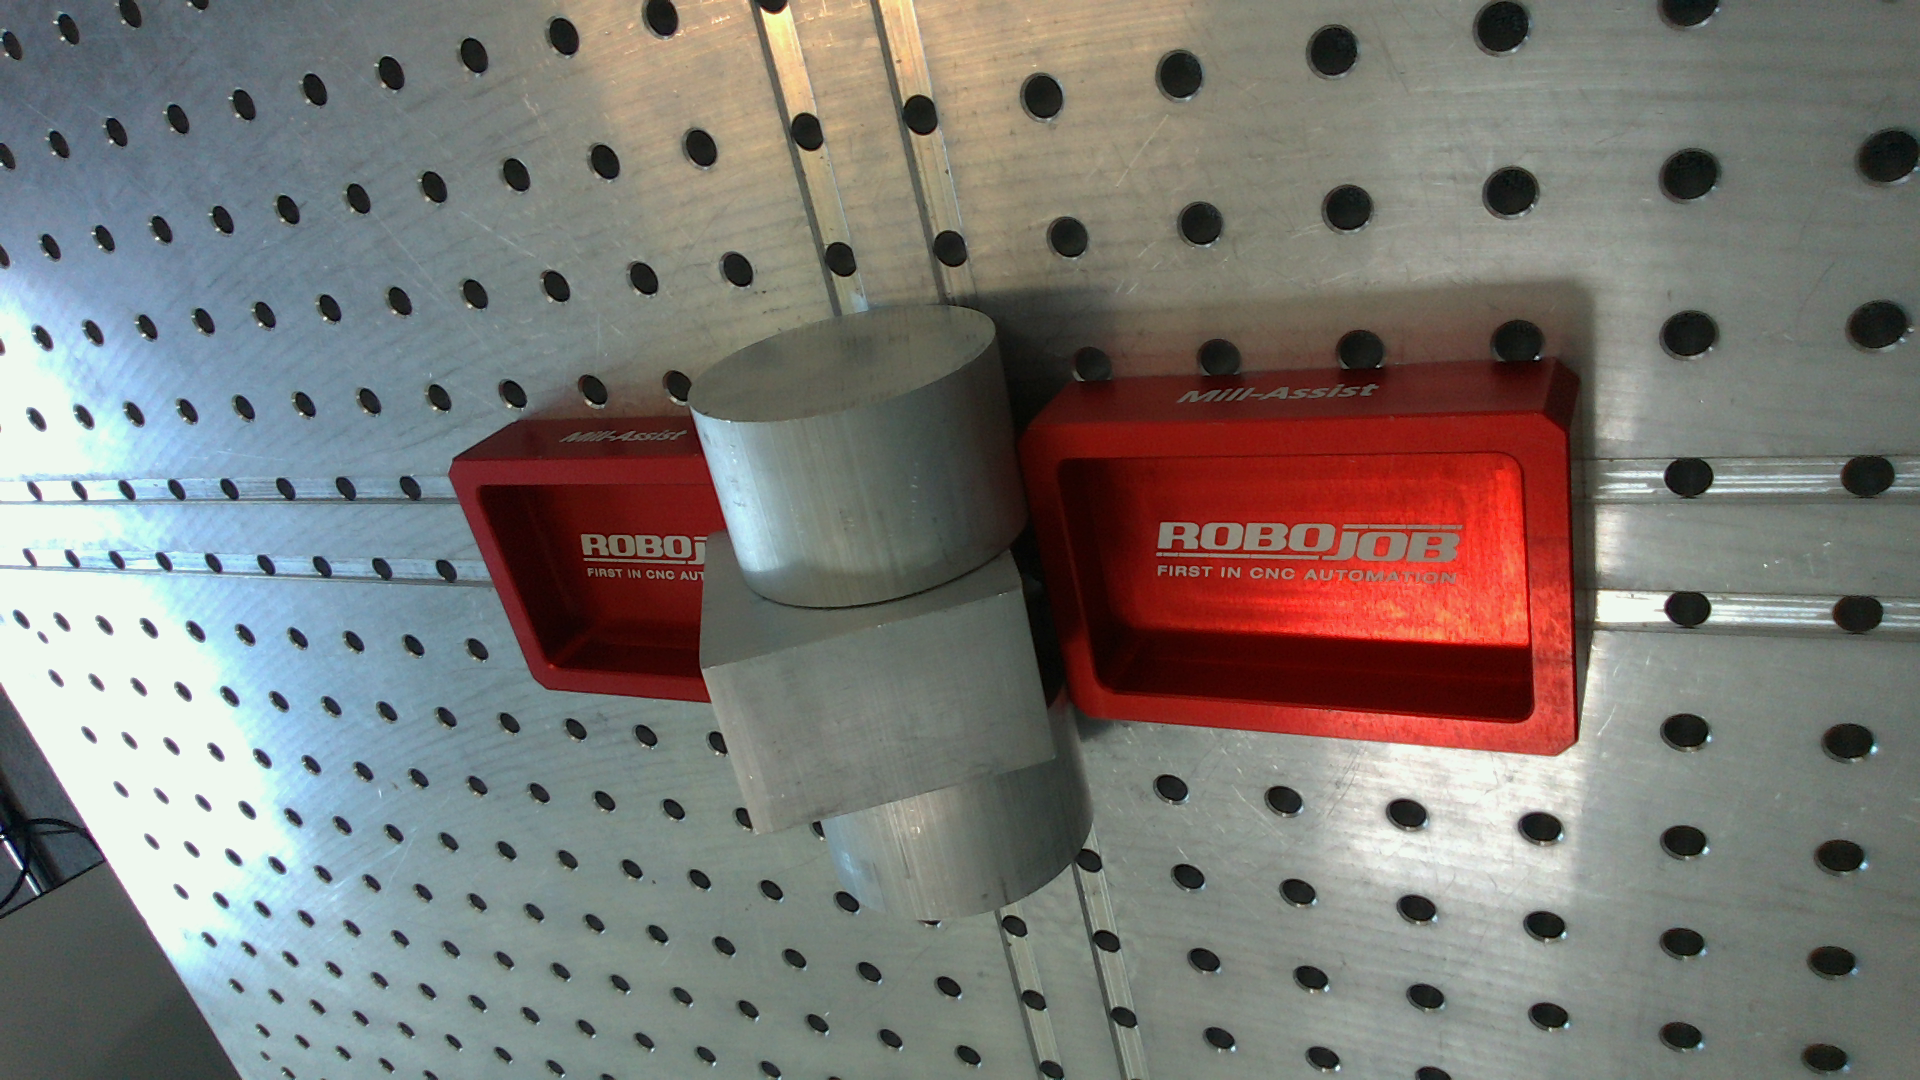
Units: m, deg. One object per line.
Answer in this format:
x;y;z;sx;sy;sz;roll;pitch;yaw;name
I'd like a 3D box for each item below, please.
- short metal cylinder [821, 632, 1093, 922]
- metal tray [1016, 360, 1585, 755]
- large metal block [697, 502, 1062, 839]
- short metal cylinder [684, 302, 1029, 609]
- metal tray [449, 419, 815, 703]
-0.004;0.064;0.402;0.080;0.080;0.050;2;119;28;short metal cylinder
0.086;0.005;0.349;0.130;0.030;0.090;1;119;28;metal tray
-0.024;0.027;0.371;0.080;0.080;0.050;-14;116;-3;large metal block
-0.025;-0.024;0.358;0.080;0.080;0.050;1;119;28;short metal cylinder
-0.096;0.007;0.448;0.130;0.030;0.090;1;119;28;metal tray
